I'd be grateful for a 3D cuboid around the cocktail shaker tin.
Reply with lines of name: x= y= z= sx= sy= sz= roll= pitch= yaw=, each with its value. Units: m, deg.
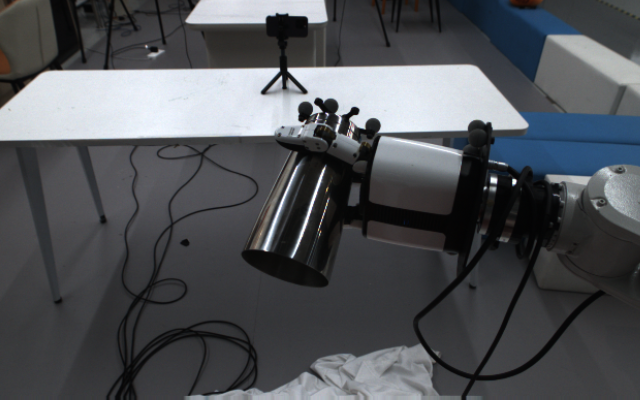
cocktail shaker tin: x=-0.007 y=-0.008 z=0.509 sx=0.093 sy=0.093 sz=0.170 roll=13 pitch=65 yaw=15
